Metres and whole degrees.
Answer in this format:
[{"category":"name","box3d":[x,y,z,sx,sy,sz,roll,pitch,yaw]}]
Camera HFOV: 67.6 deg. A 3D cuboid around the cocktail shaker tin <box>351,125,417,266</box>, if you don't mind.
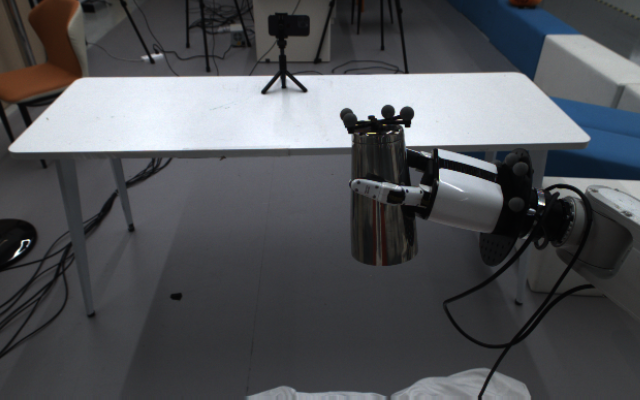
[{"category":"cocktail shaker tin","box3d":[0.081,-0.010,0.639,0.093,0.170,0.093,-6,19,2]}]
